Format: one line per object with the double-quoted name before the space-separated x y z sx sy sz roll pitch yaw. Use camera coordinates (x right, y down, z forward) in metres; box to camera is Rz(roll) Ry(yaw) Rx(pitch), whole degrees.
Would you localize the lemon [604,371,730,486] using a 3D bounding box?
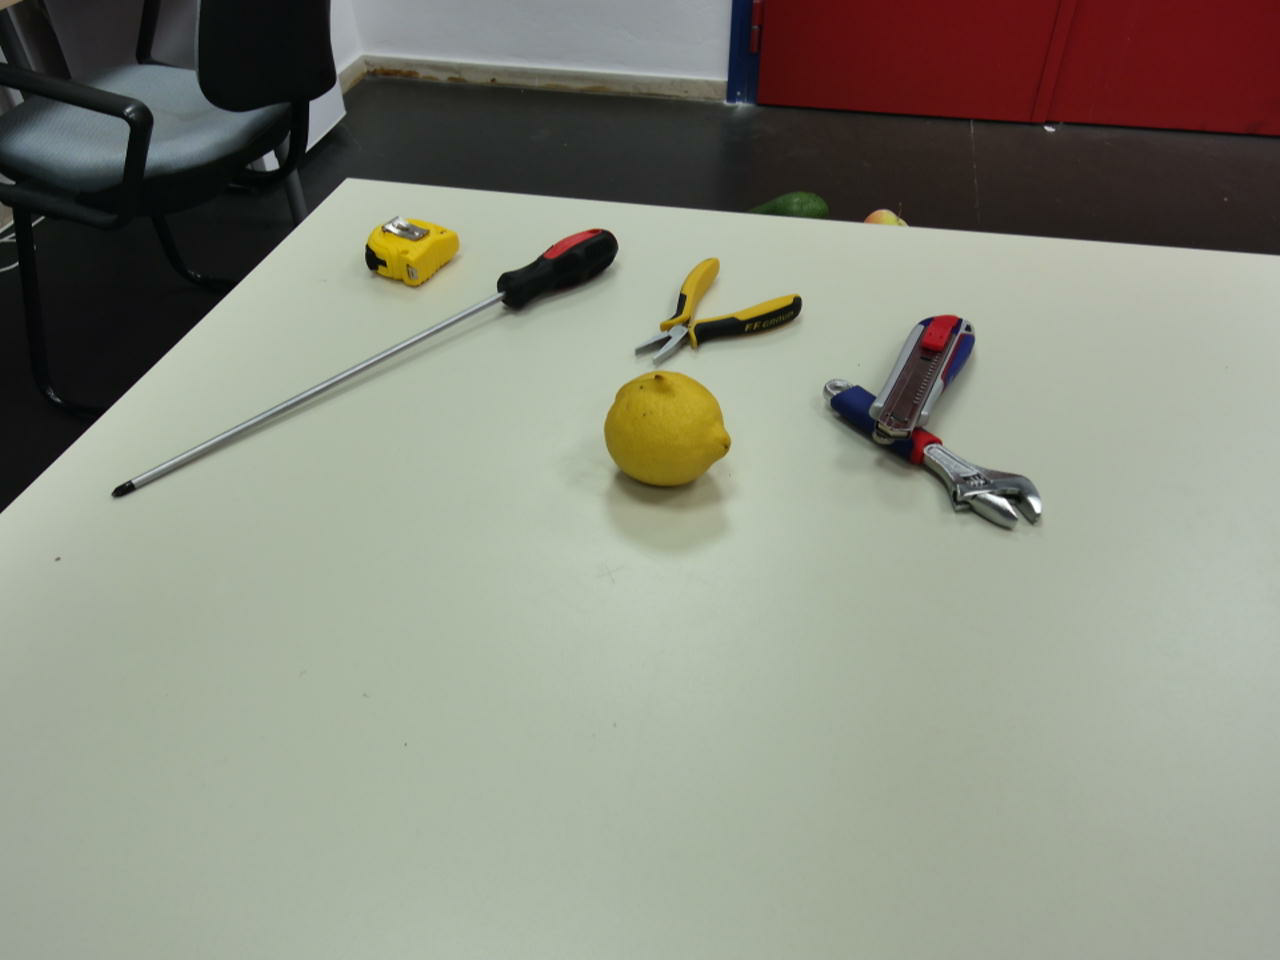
"lemon" 0.014 -0.033 0.596 0.070 0.071 0.071 -14 41 -16
